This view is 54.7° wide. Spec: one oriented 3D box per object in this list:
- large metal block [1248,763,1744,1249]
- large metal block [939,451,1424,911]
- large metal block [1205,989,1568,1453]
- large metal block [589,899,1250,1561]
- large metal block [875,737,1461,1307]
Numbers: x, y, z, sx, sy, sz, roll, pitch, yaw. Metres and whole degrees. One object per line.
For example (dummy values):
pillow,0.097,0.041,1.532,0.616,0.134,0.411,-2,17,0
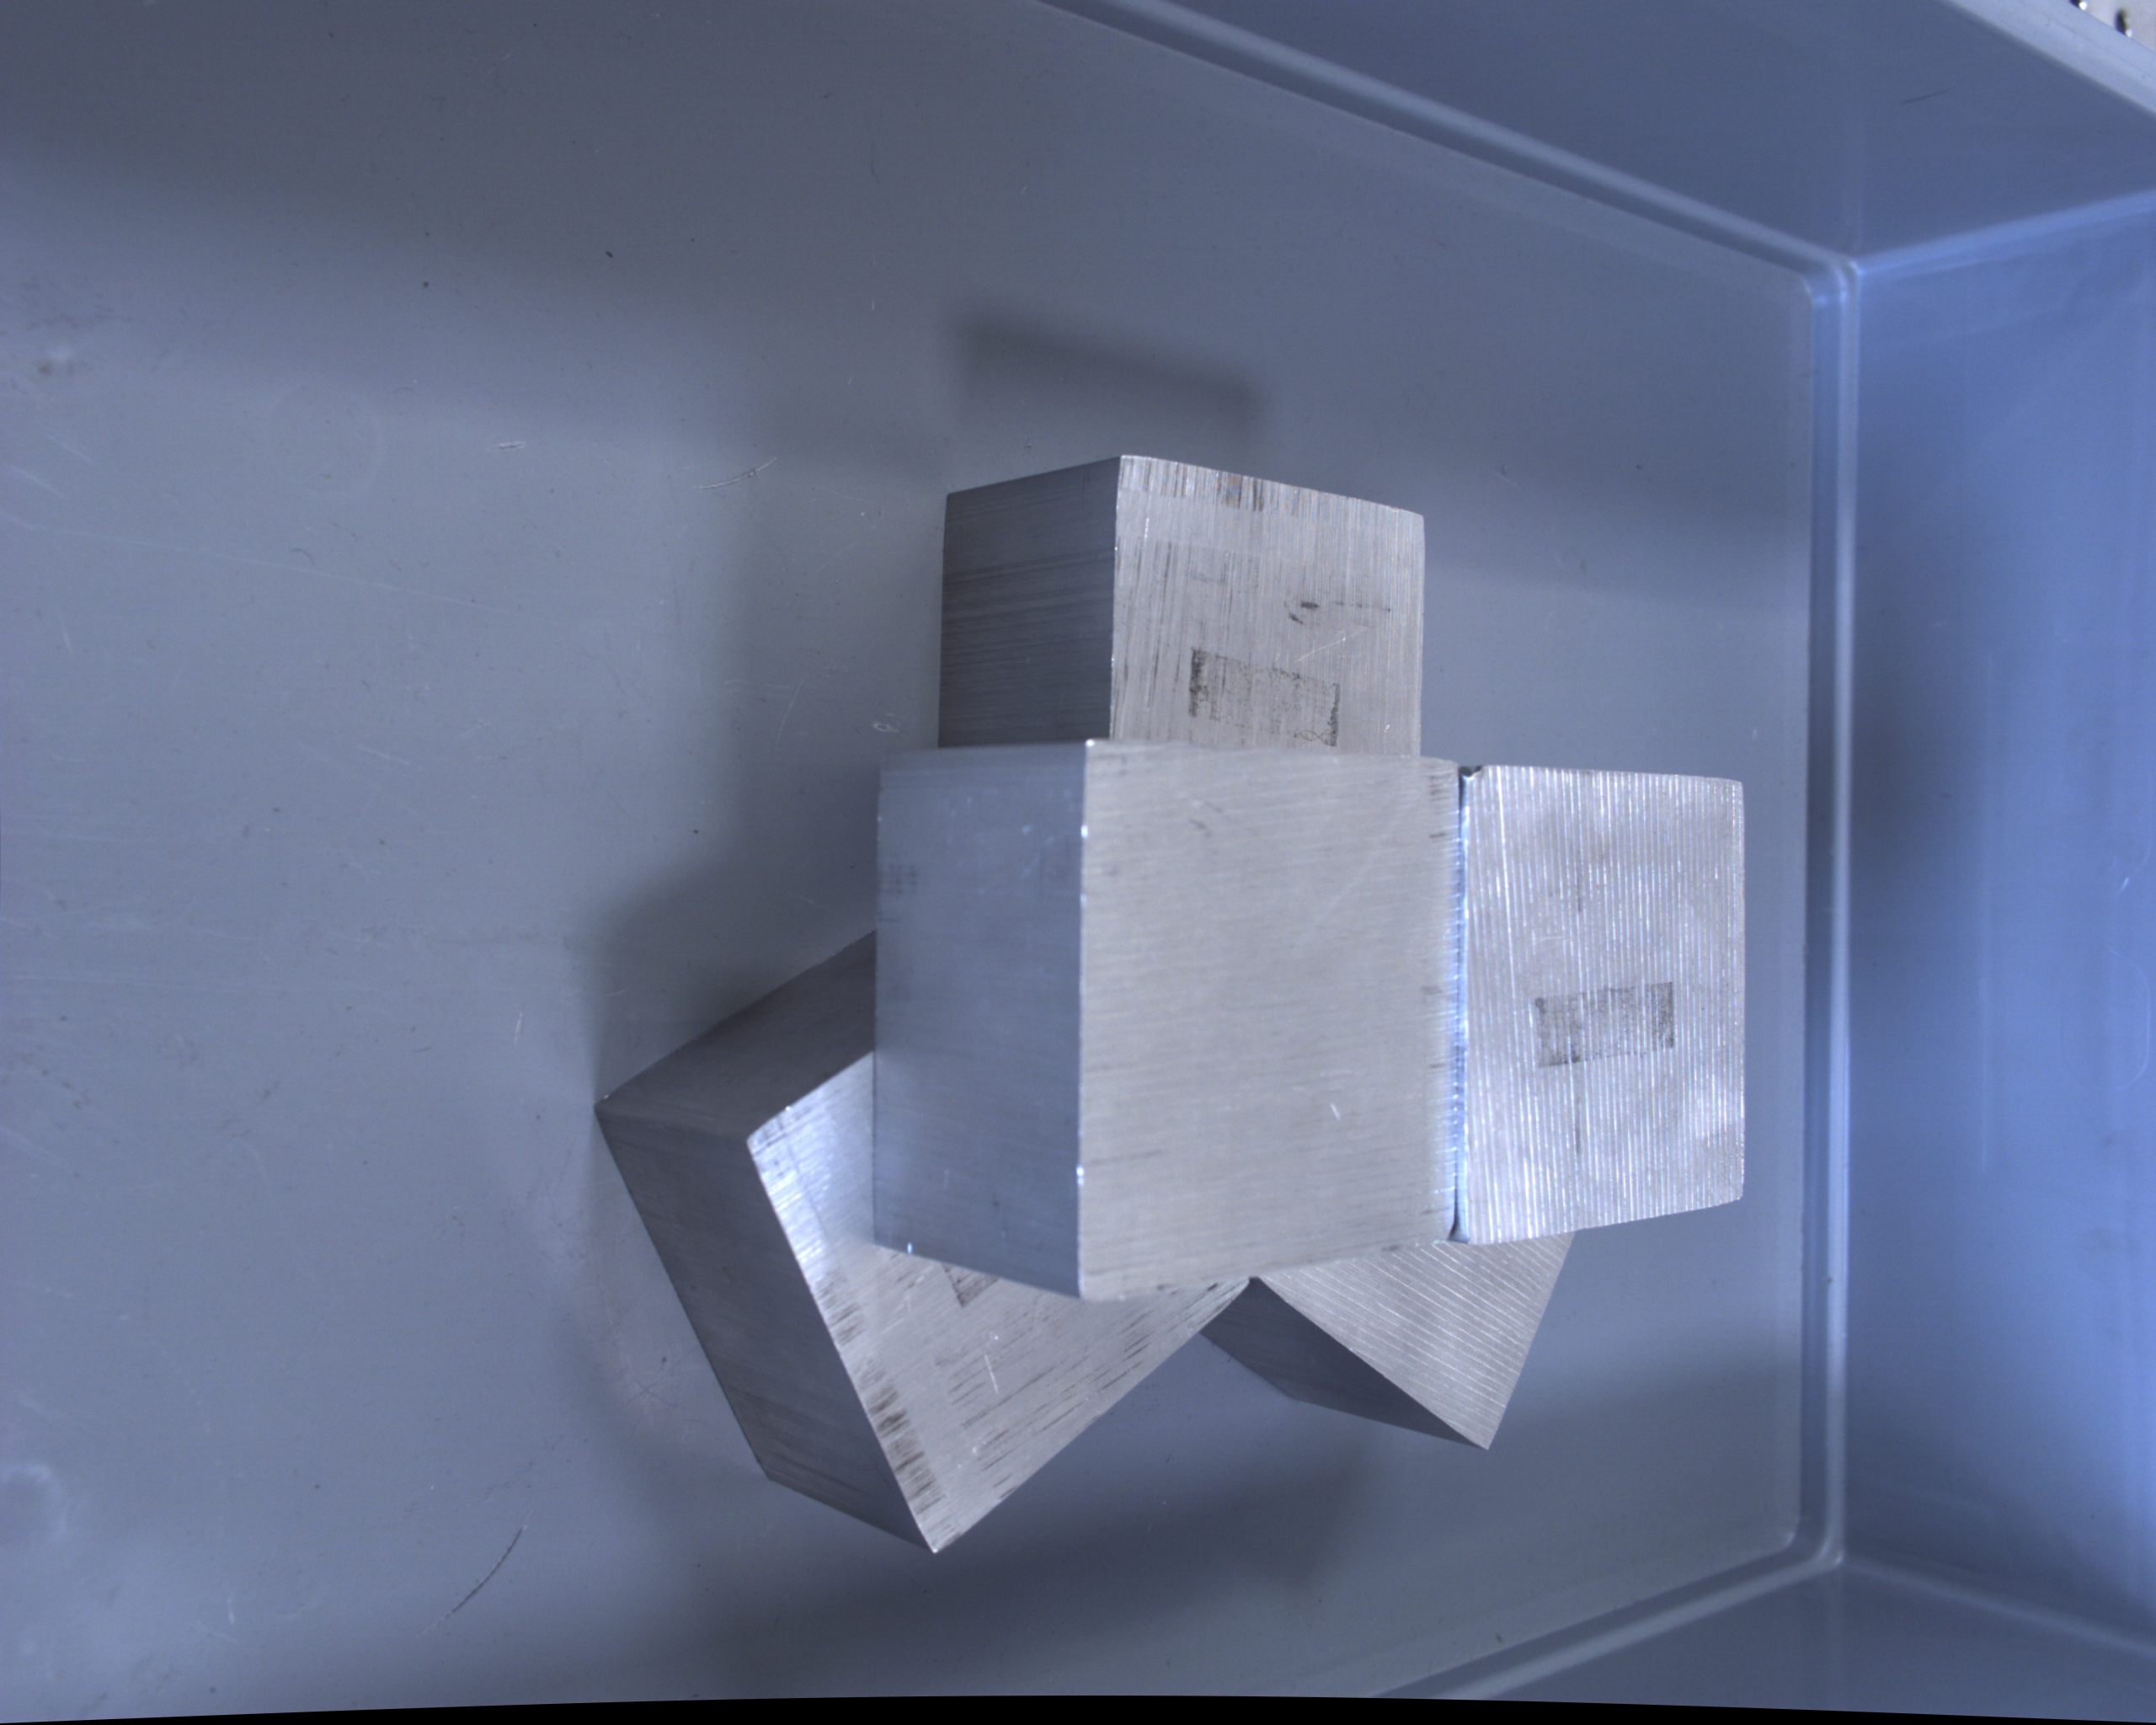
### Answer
large metal block,0.078,0.024,0.387,0.081,0.050,0.080,1,90,-40
large metal block,0.021,-0.031,0.405,0.081,0.050,0.080,2,89,-40
large metal block,0.058,0.064,0.435,0.080,0.050,0.080,41,65,-32
large metal block,-0.025,0.059,0.367,0.081,0.050,0.080,-33,111,-35
large metal block,0.015,0.022,0.336,0.081,0.050,0.080,1,90,-40
